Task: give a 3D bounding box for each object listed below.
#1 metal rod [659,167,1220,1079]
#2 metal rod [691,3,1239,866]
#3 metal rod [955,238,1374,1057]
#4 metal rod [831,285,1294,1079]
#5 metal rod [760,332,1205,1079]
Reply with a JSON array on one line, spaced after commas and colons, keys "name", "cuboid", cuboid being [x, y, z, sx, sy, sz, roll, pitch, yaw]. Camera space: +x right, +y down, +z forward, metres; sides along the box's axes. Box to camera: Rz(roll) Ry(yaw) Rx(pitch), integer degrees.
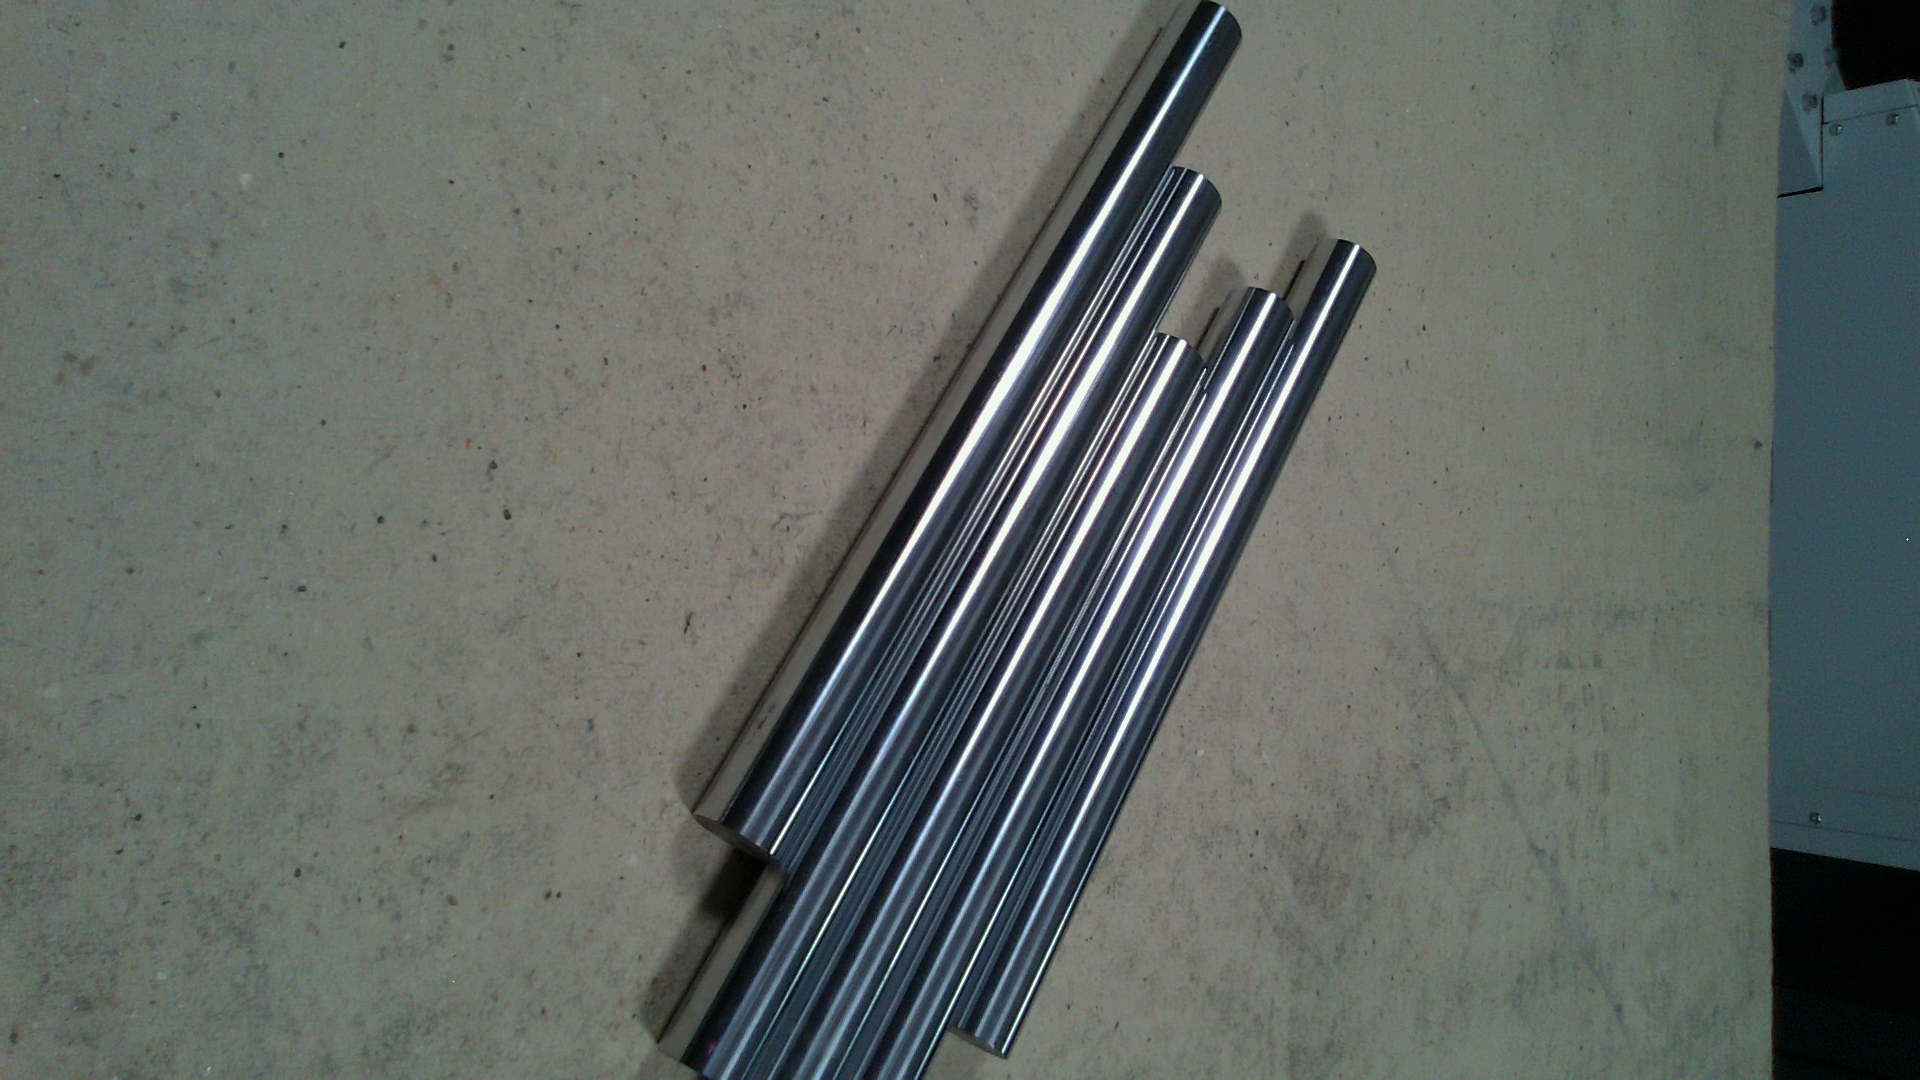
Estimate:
[{"name": "metal rod", "cuboid": [0.005, 0.009, 0.393, 0.025, 0.025, 0.300, 44, 64, -31]}, {"name": "metal rod", "cuboid": [0.012, -0.046, 0.399, 0.025, 0.025, 0.300, 44, 64, -31]}, {"name": "metal rod", "cuboid": [0.071, 0.020, 0.448, 0.025, 0.025, 0.300, 44, 64, -31]}, {"name": "metal rod", "cuboid": [0.035, 0.042, 0.418, 0.025, 0.025, 0.300, 44, 64, -31]}, {"name": "metal rod", "cuboid": [0.000, 0.062, 0.389, 0.025, 0.025, 0.300, 44, 64, -31]}]
